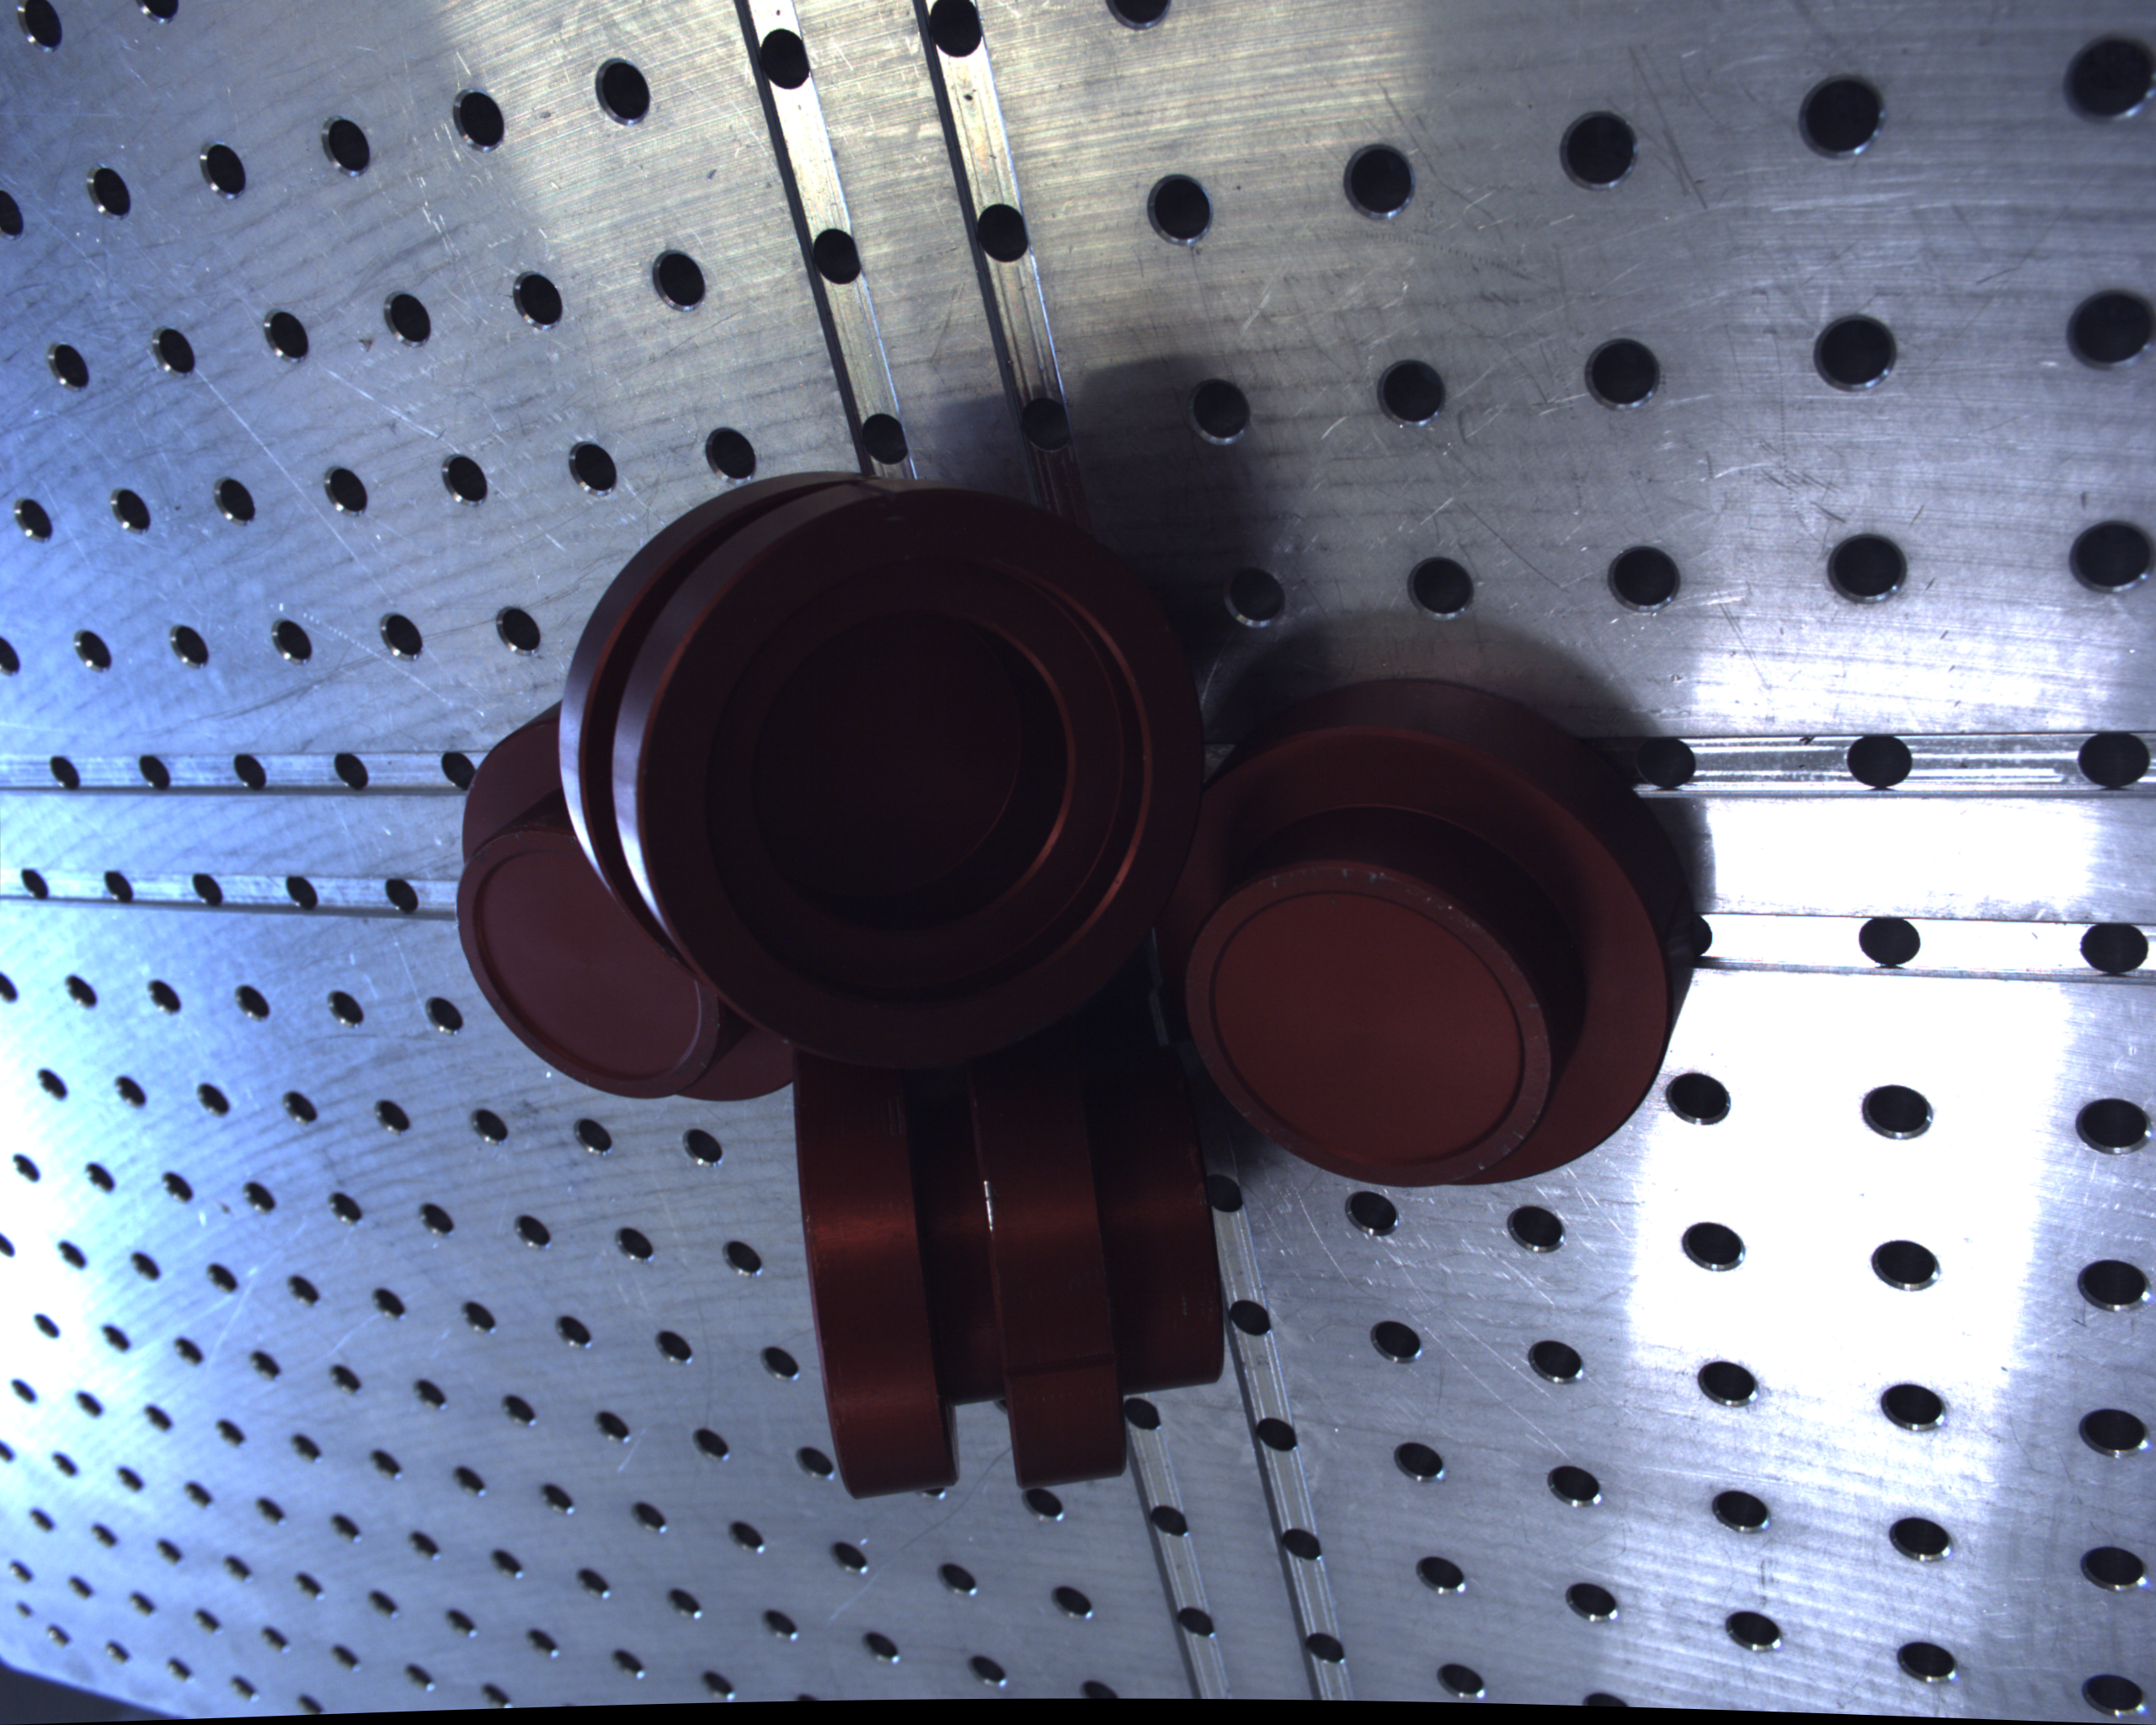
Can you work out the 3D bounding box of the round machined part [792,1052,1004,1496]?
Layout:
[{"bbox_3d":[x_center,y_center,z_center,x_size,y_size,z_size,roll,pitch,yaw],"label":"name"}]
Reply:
[{"bbox_3d":[-0.030,0.075,0.421,0.042,0.098,0.097,-7,120,-4],"label":"round machined part"}]

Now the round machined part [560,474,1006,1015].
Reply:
[{"bbox_3d":[-0.047,-0.024,0.390,0.042,0.099,0.098,31,144,63],"label":"round machined part"}]

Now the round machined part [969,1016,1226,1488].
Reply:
[{"bbox_3d":[0.003,0.073,0.420,0.042,0.098,0.097,-7,120,-4],"label":"round machined part"}]

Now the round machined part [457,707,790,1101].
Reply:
[{"bbox_3d":[-0.095,0.012,0.458,0.098,0.042,0.097,13,124,21],"label":"round machined part"}]

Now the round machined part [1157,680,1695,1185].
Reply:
[{"bbox_3d":[0.059,0.019,0.382,0.098,0.042,0.097,13,124,21],"label":"round machined part"}]

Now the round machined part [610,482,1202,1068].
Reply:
[{"bbox_3d":[-0.032,-0.017,0.362,0.042,0.099,0.098,31,144,63],"label":"round machined part"}]
